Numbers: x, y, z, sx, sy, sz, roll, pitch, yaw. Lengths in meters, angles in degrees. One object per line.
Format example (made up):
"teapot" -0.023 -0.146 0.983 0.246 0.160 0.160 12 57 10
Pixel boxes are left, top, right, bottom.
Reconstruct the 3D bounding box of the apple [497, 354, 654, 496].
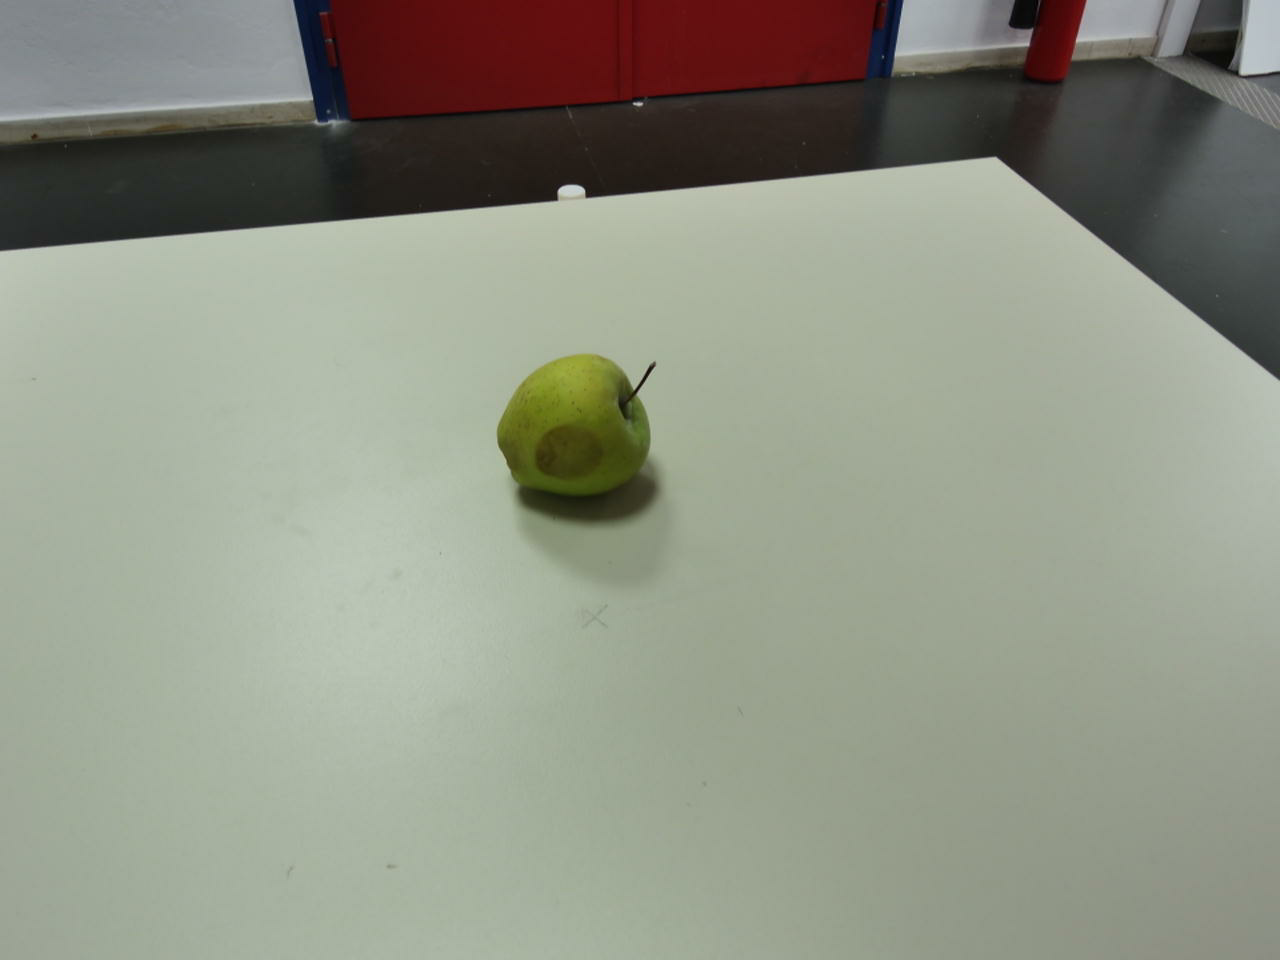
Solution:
"apple" -0.033 -0.030 0.522 0.077 0.075 0.072 22 43 24
